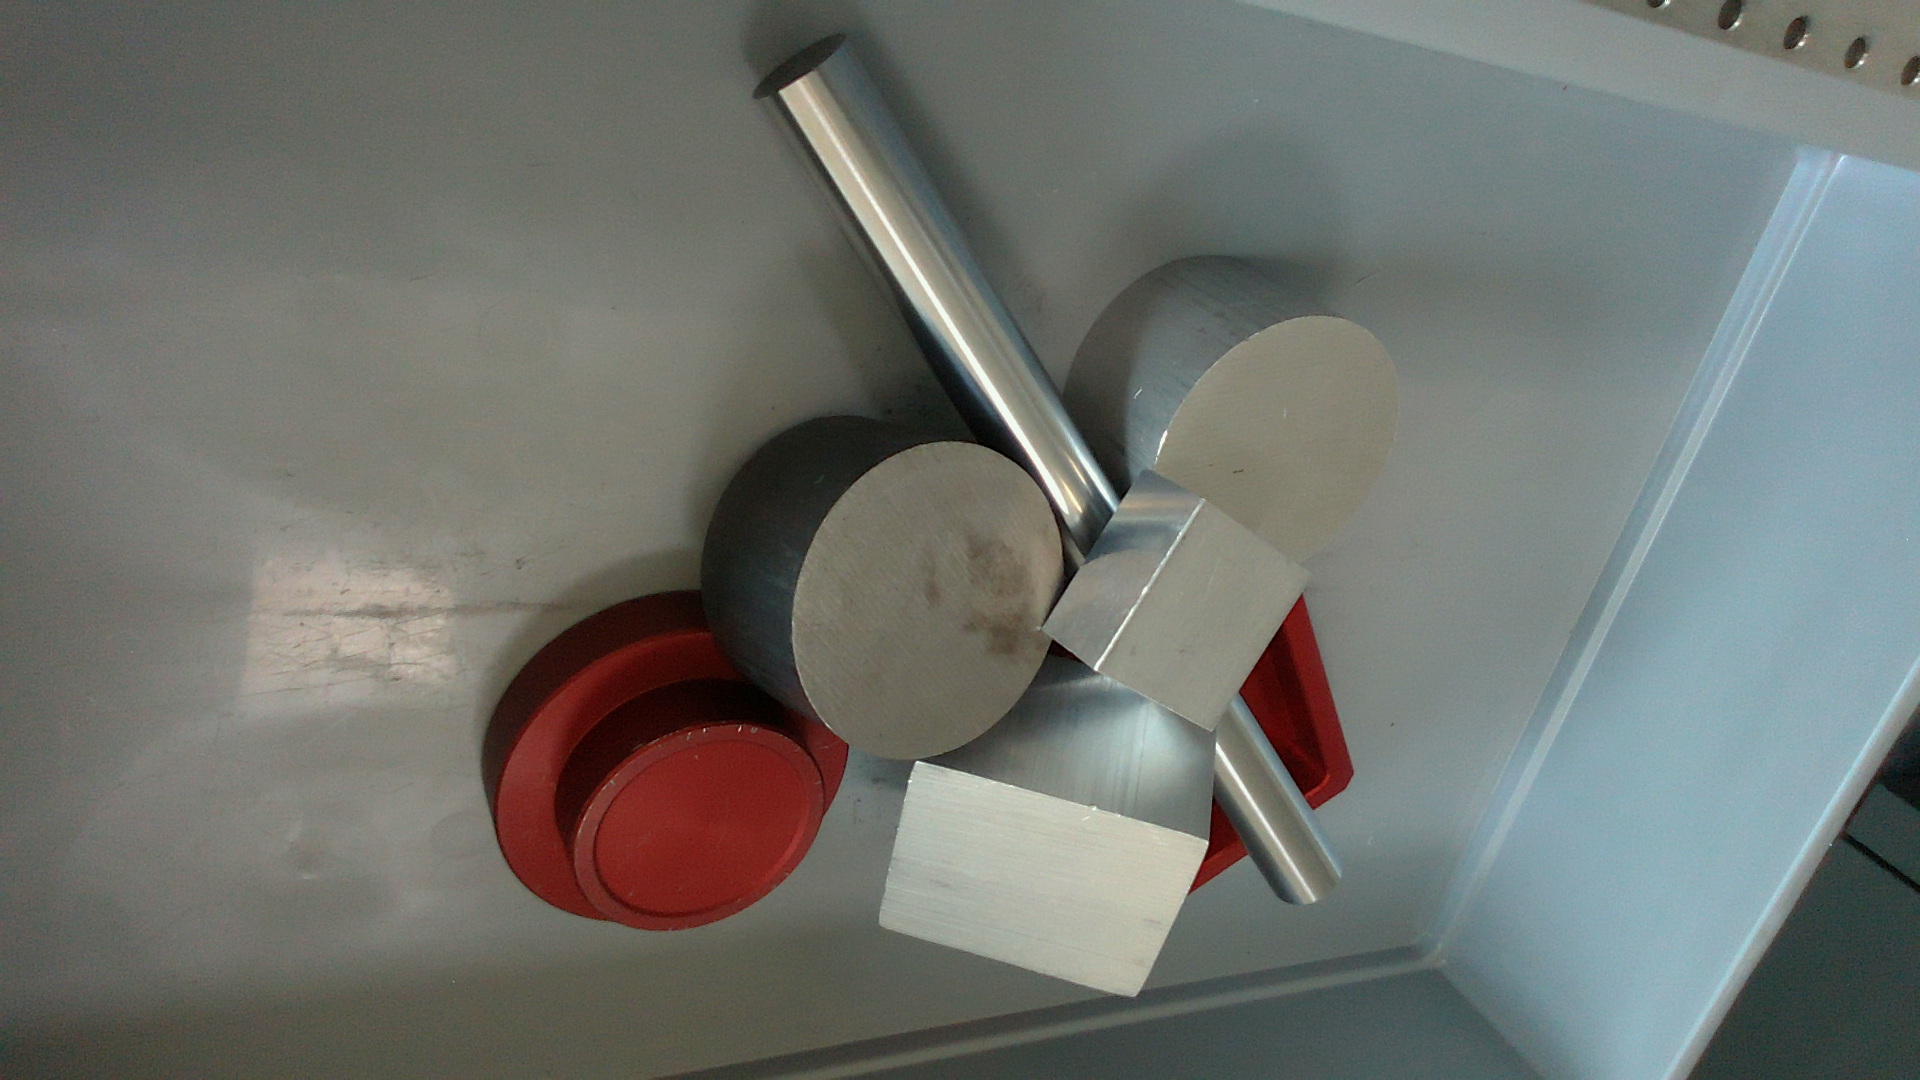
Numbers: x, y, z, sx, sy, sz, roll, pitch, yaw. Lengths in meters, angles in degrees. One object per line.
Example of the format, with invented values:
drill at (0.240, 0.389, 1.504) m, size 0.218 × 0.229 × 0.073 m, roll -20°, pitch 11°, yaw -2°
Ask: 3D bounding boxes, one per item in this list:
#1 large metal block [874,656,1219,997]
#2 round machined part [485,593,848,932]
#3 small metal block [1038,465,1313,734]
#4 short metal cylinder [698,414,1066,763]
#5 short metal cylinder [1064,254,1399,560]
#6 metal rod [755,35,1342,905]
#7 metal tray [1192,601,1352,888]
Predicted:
large metal block at (0.024, 0.080, 0.400) m, size 0.080 × 0.050 × 0.080 m, roll 14°, pitch 132°, yaw 2°
round machined part at (-0.076, 0.067, 0.376) m, size 0.098 × 0.042 × 0.098 m, roll -14°, pitch 124°, yaw -21°
small metal block at (0.057, 0.016, 0.360) m, size 0.050 × 0.025 × 0.050 m, roll 29°, pitch 94°, yaw -37°
short metal cylinder at (-0.020, 0.011, 0.353) m, size 0.080 × 0.050 × 0.080 m, roll -10°, pitch 108°, yaw -34°
short metal cylinder at (0.076, -0.035, 0.392) m, size 0.080 × 0.050 × 0.080 m, roll -14°, pitch 124°, yaw -21°
metal rod at (0.040, 0.003, 0.379) m, size 0.025 × 0.025 × 0.301 m, roll -37°, pitch 120°, yaw -4°
metal tray at (0.076, 0.057, 0.460) m, size 0.090 × 0.030 × 0.130 m, roll -32°, pitch 129°, yaw -8°
